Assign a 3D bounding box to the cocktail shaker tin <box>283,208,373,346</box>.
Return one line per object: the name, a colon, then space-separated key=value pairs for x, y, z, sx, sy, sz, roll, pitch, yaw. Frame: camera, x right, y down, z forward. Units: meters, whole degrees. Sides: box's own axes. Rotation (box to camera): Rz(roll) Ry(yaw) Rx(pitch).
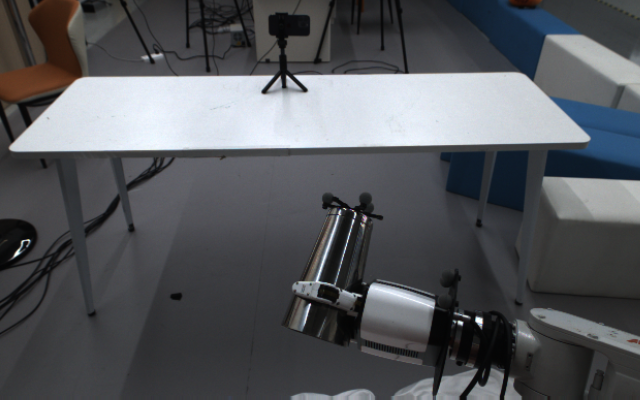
cocktail shaker tin: x=0.016 y=0.101 z=0.652 sx=0.093 sy=0.093 sz=0.170 roll=14 pitch=73 yaw=17
